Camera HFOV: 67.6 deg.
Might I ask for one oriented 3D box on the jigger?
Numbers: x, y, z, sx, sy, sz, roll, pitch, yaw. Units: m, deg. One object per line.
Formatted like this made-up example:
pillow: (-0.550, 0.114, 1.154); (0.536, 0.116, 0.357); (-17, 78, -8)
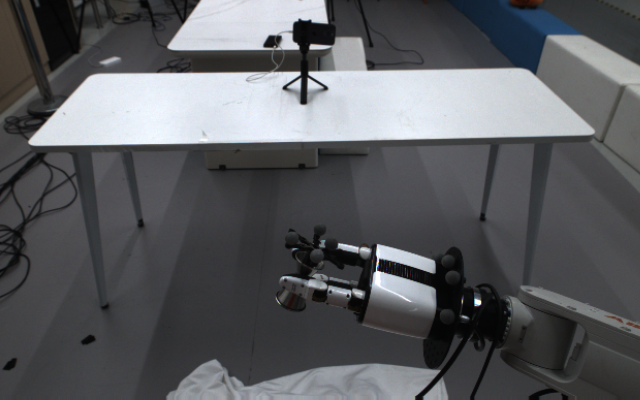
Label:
jigger: (-0.026, 0.104, 0.631); (0.043, 0.071, 0.043); (23, 19, -8)
